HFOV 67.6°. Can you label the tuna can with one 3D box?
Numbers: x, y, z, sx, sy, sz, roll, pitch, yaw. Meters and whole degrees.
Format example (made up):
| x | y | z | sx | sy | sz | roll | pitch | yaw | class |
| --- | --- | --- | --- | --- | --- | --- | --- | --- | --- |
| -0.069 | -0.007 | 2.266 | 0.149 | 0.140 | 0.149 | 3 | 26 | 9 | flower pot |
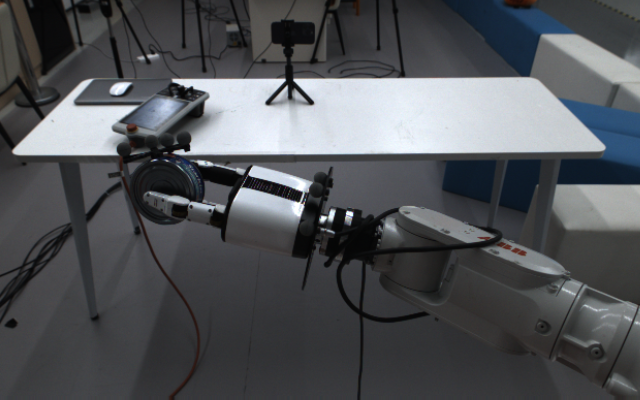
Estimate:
| x | y | z | sx | sy | sz | roll | pitch | yaw | class |
| --- | --- | --- | --- | --- | --- | --- | --- | --- | --- |
| -0.187 | -0.007 | 0.599 | 0.085 | 0.085 | 0.034 | 6 | 18 | 5 | tuna can |
